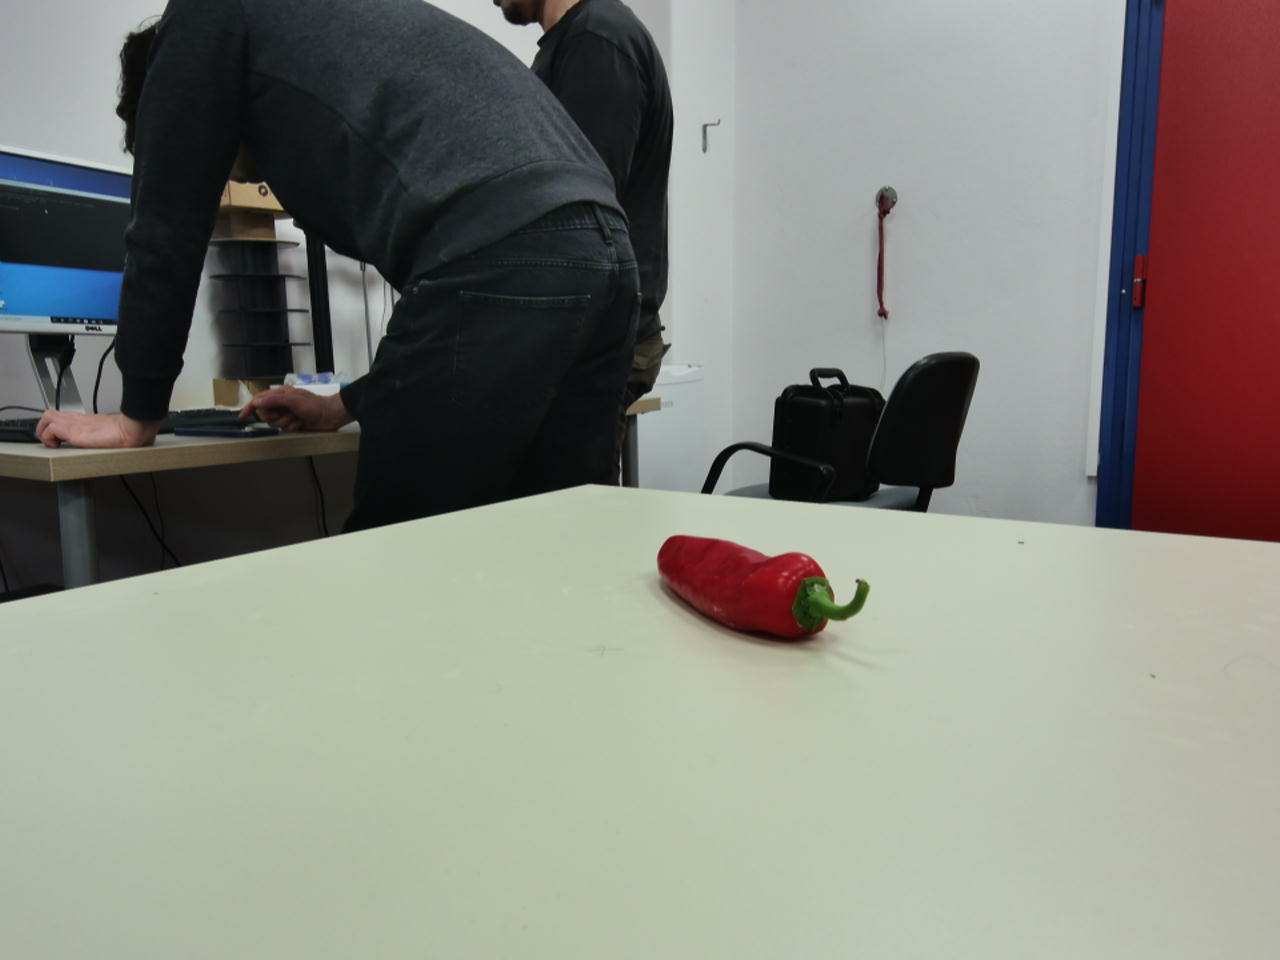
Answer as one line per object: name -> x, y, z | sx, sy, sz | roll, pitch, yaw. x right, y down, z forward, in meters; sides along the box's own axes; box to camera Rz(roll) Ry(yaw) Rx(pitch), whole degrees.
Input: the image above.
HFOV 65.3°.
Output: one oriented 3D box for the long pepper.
long pepper -> 0.053, 0.053, 0.549 | 0.050, 0.043, 0.211 | -2, 6, -22
